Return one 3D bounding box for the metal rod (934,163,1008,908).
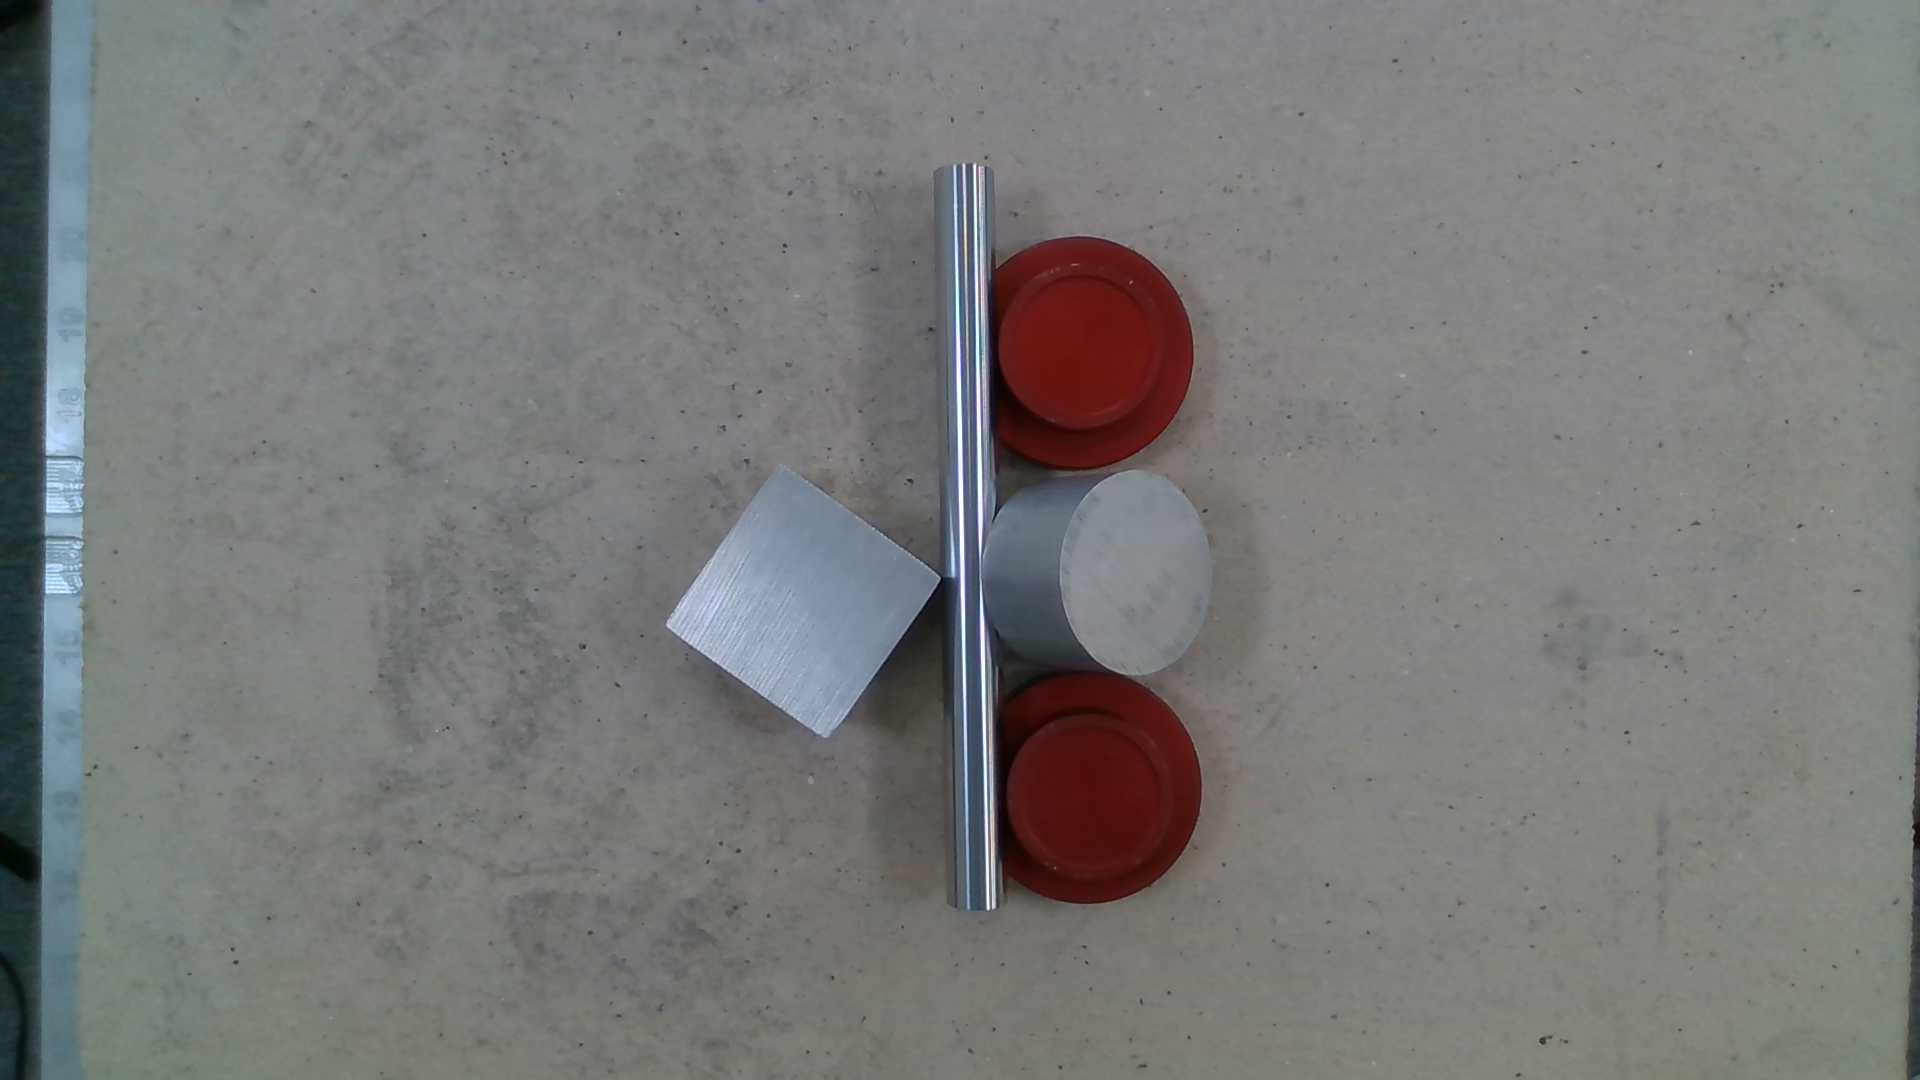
[{"bbox_3d":[0.005,-0.002,0.566,0.025,0.025,0.300,-1,91,0],"label":"metal rod"}]

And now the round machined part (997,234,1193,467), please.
[{"bbox_3d":[0.049,-0.080,0.578,0.098,0.042,0.098,0,91,0],"label":"round machined part"}]

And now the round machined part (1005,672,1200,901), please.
[{"bbox_3d":[0.052,0.104,0.580,0.098,0.042,0.098,0,91,0],"label":"round machined part"}]

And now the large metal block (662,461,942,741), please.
[{"bbox_3d":[-0.063,0.024,0.573,0.080,0.050,0.080,35,90,0],"label":"large metal block"}]

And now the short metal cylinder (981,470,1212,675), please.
[{"bbox_3d":[0.055,0.013,0.557,0.080,0.050,0.080,0,90,-36],"label":"short metal cylinder"}]
